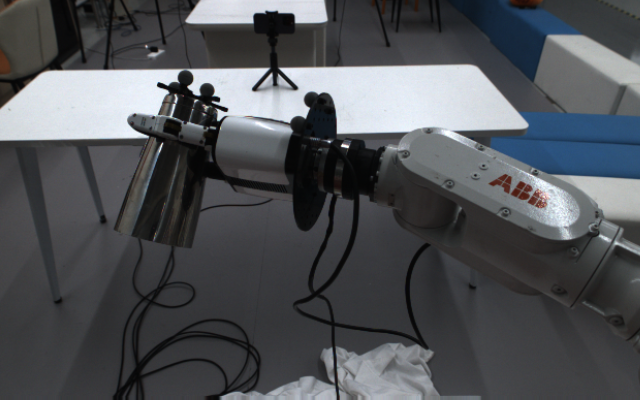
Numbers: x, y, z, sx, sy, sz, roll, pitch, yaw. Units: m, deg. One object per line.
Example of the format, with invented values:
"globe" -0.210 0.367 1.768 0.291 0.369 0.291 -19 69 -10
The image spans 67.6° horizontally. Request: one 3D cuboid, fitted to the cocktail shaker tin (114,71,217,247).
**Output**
"cocktail shaker tin" -0.177 -0.037 0.586 0.093 0.170 0.093 15 -5 1
